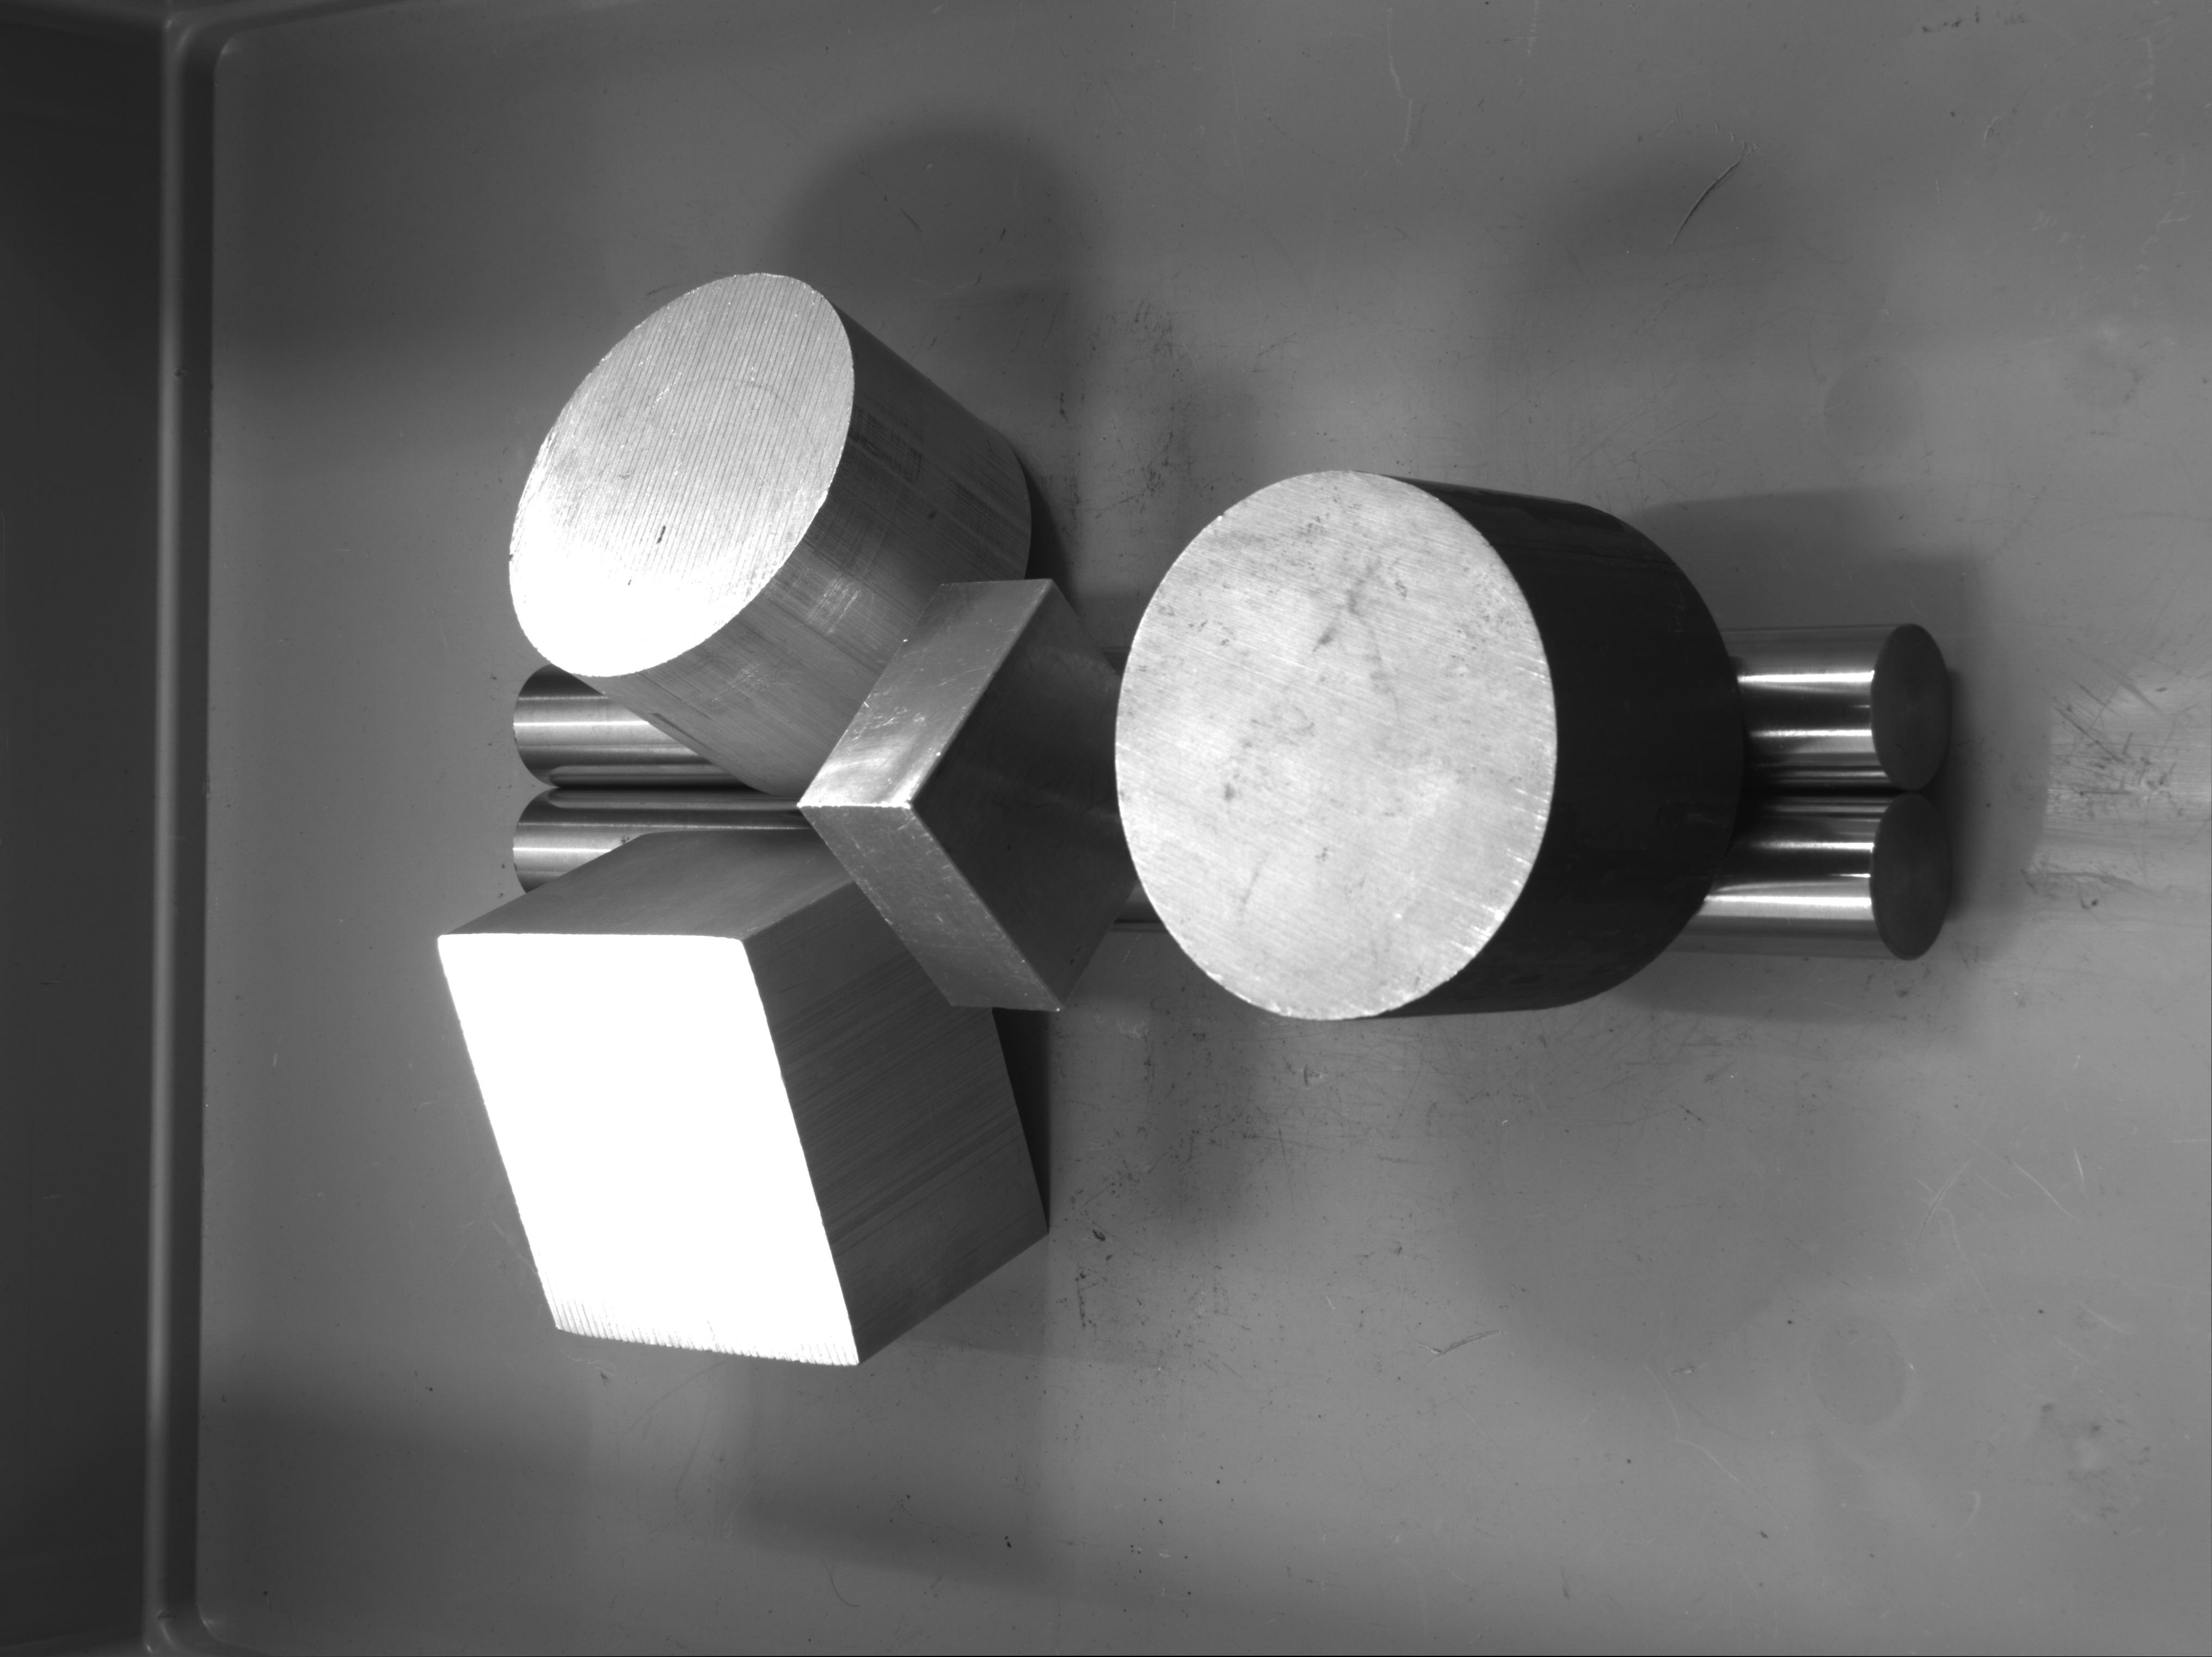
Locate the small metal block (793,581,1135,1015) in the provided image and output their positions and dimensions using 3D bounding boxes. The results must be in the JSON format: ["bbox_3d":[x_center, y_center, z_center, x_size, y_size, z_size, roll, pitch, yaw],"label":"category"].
[{"bbox_3d":[-0.018,-0.005,0.606,0.025,0.050,0.050,1,48,40],"label":"small metal block"}]

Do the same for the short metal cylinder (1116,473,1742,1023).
[{"bbox_3d":[0.048,-0.012,0.554,0.080,0.050,0.080,0,90,40],"label":"short metal cylinder"}]

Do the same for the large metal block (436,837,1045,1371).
[{"bbox_3d":[-0.066,0.048,0.665,0.080,0.050,0.080,-1,109,40],"label":"large metal block"}]

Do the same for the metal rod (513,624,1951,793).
[{"bbox_3d":[0.005,-0.019,0.640,0.299,0.025,0.025,1,90,40],"label":"metal rod"}]

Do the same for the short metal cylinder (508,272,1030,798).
[{"bbox_3d":[-0.061,-0.052,0.660,0.080,0.050,0.080,-20,54,30],"label":"short metal cylinder"}]

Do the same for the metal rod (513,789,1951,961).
[{"bbox_3d":[0.005,0.006,0.640,0.299,0.025,0.025,1,90,40],"label":"metal rod"}]
